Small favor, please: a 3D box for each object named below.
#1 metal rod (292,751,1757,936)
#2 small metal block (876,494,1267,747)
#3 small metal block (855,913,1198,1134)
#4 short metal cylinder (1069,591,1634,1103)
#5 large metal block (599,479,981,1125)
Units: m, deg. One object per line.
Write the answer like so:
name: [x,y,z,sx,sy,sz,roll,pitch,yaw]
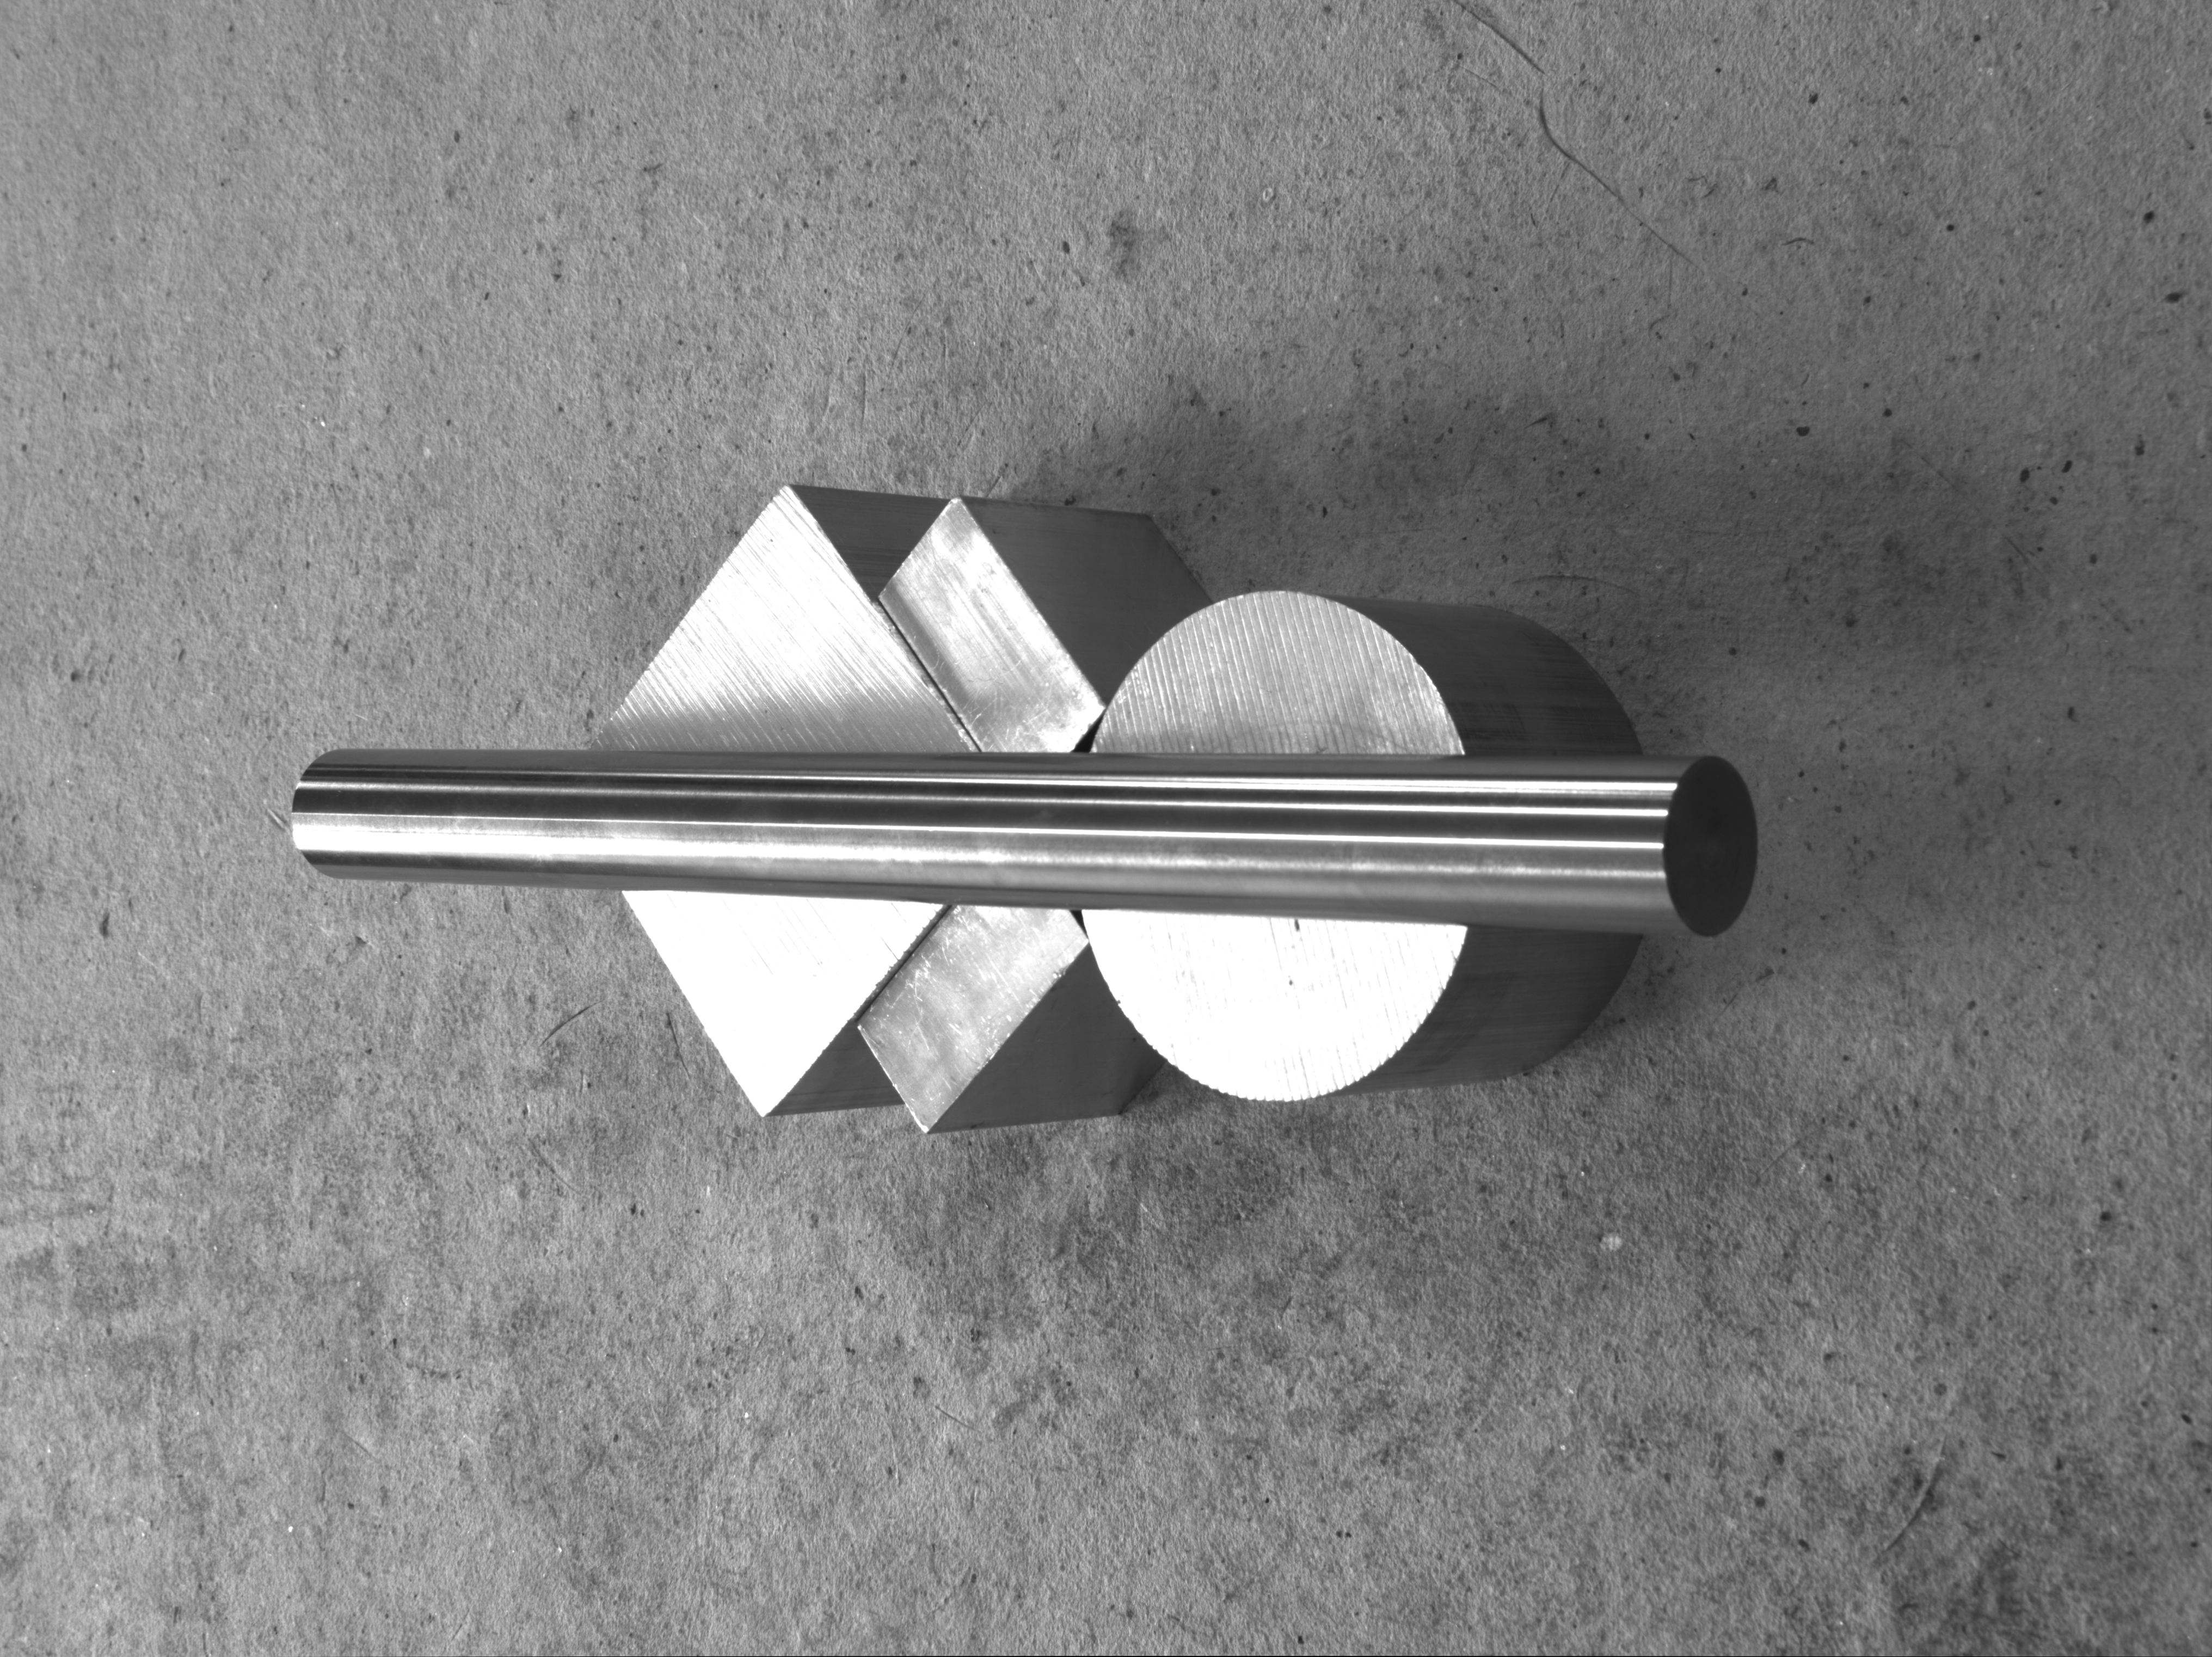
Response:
metal rod: [-0.031,0.000,0.604,0.299,0.025,0.025,1,91,40]
small metal block: [-0.003,-0.029,0.633,0.025,0.050,0.050,-50,61,28]
small metal block: [-0.007,0.026,0.636,0.050,0.050,0.025,-50,61,28]
short metal cylinder: [0.041,0.003,0.594,0.080,0.050,0.080,0,90,40]
large metal block: [-0.042,-0.004,0.663,0.080,0.050,0.080,-50,60,29]
